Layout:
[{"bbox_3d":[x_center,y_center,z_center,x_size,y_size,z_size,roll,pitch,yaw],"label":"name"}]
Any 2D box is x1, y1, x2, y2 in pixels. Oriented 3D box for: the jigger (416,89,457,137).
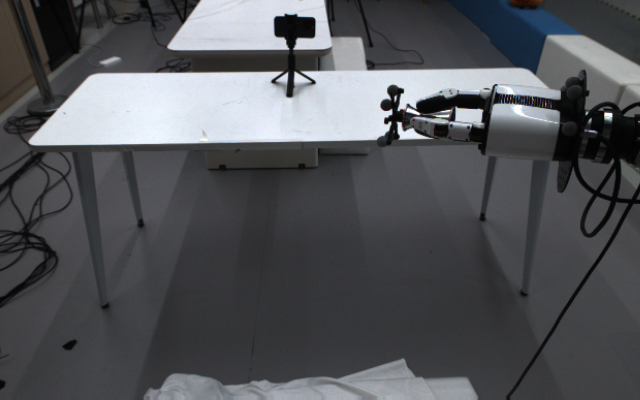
[{"bbox_3d":[0.162,-0.119,0.698,0.071,0.043,0.043,10,35,22],"label":"jigger"}]
